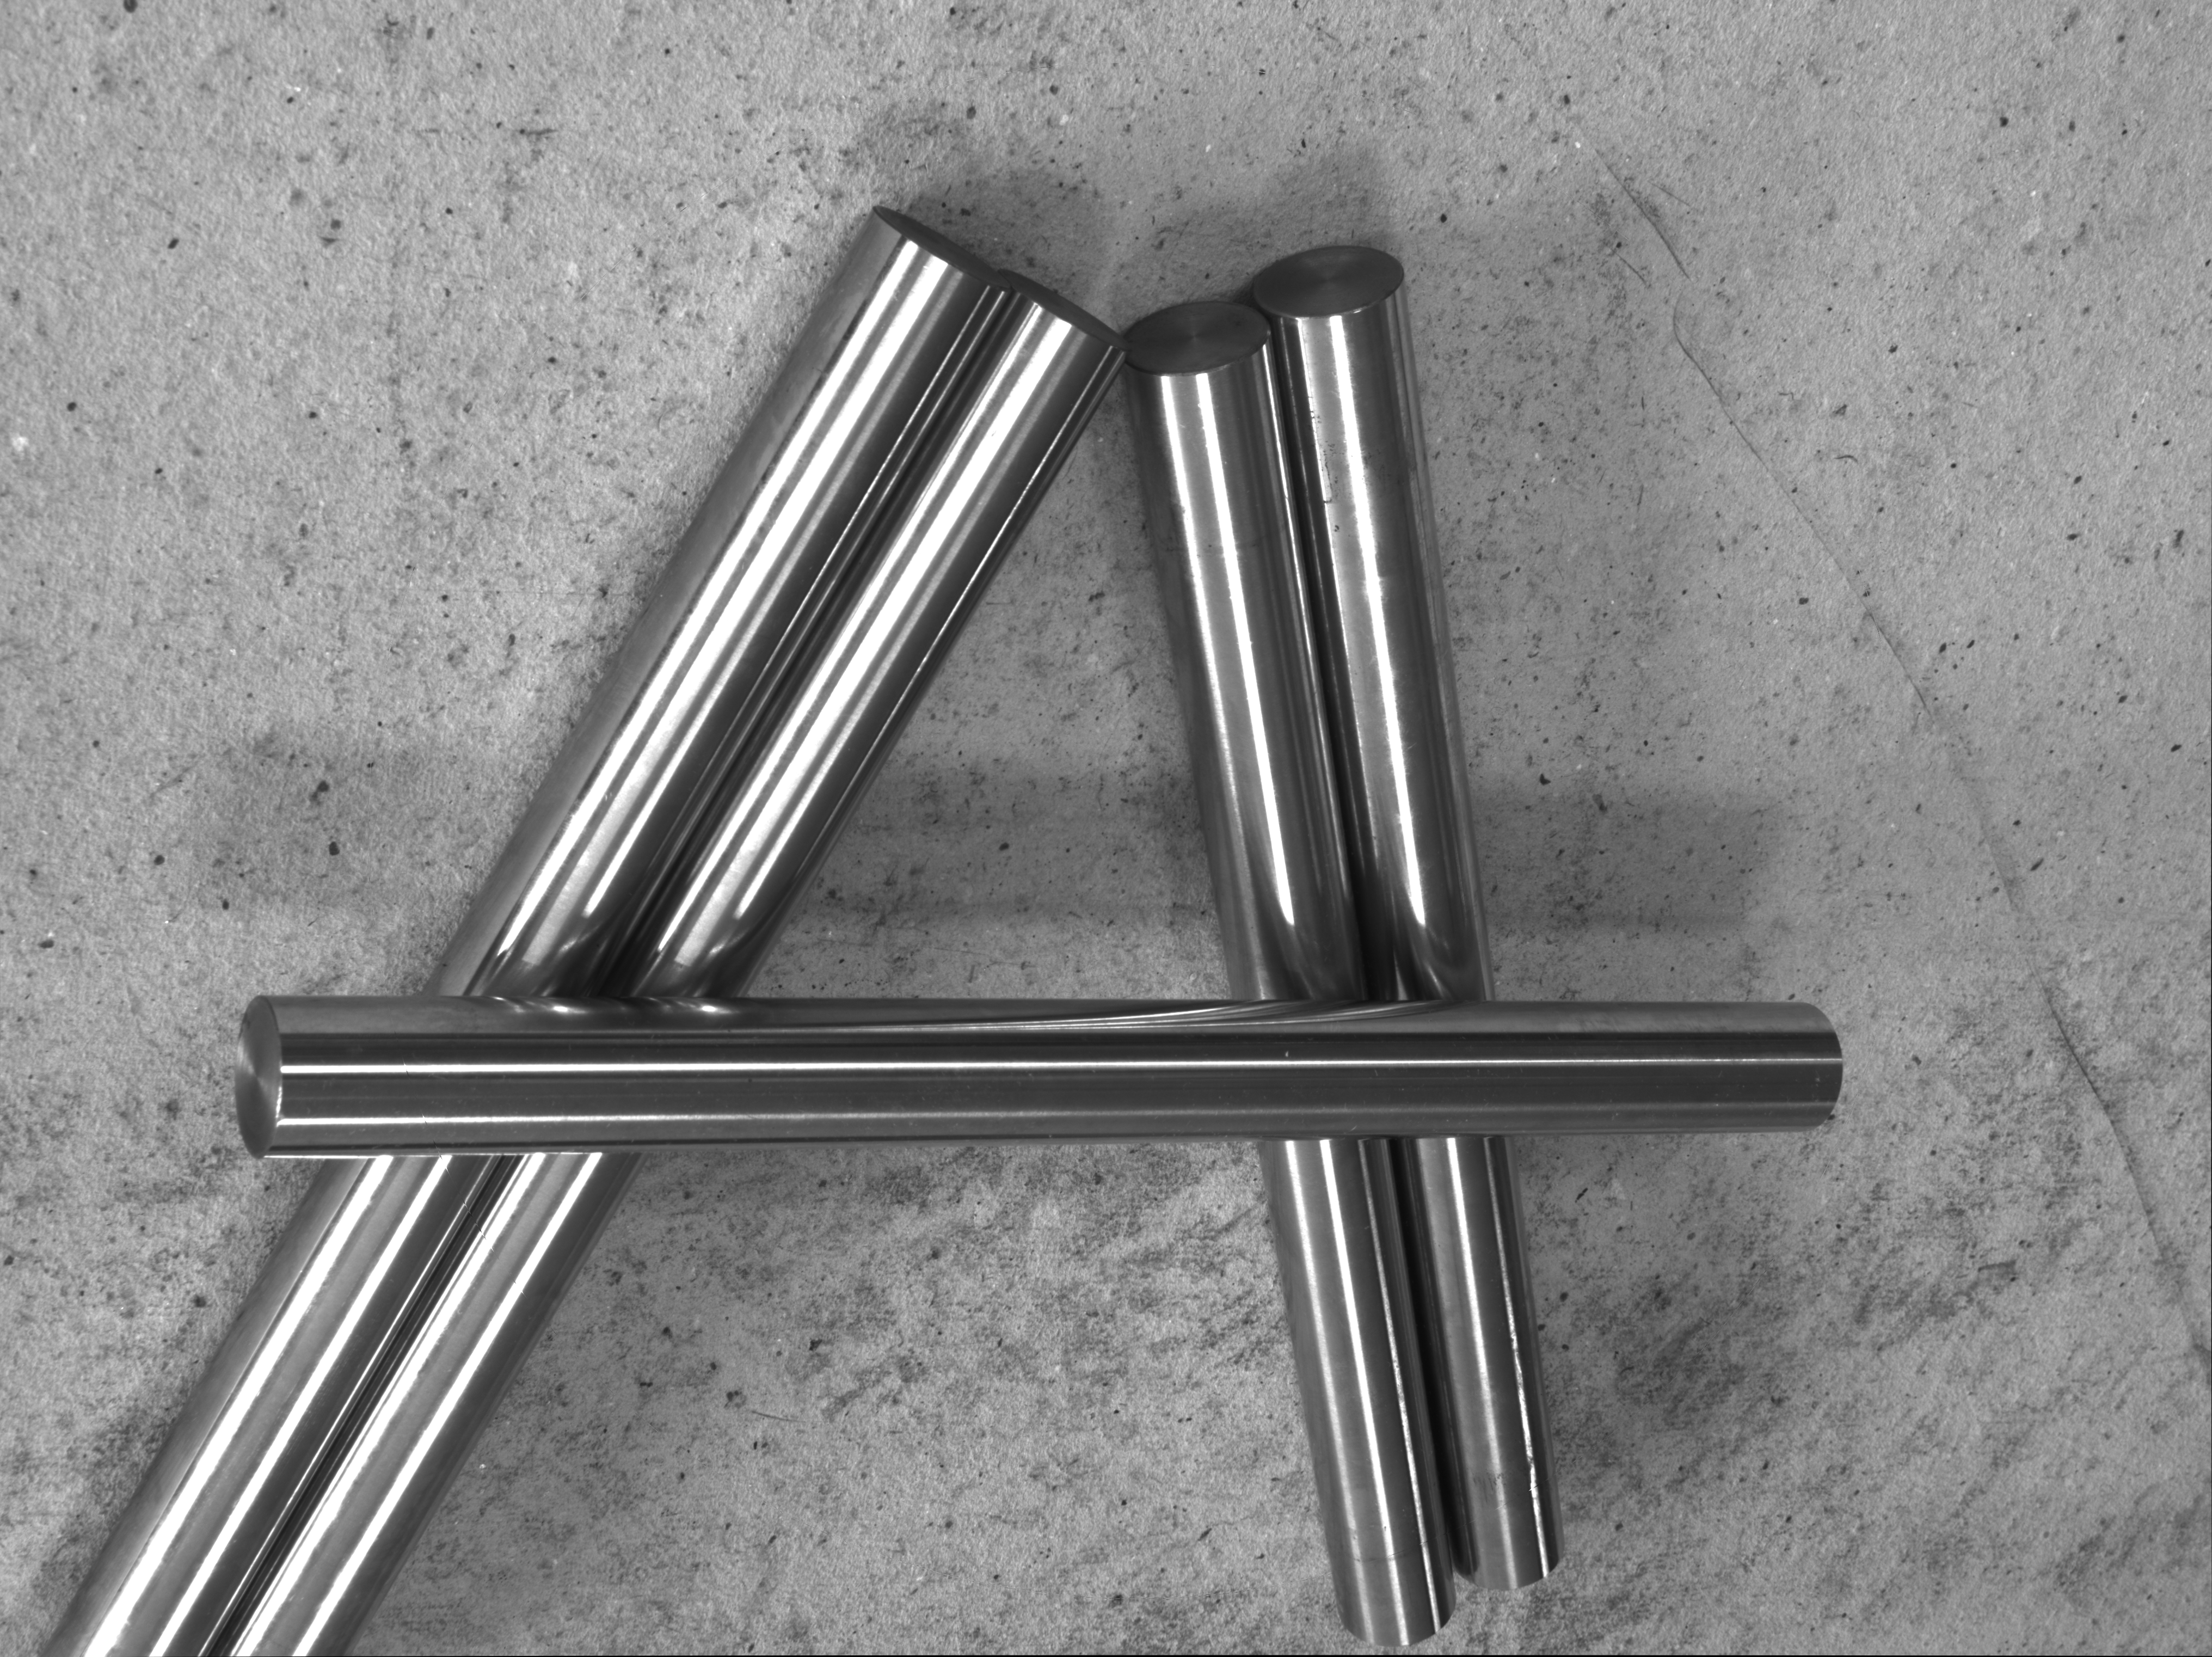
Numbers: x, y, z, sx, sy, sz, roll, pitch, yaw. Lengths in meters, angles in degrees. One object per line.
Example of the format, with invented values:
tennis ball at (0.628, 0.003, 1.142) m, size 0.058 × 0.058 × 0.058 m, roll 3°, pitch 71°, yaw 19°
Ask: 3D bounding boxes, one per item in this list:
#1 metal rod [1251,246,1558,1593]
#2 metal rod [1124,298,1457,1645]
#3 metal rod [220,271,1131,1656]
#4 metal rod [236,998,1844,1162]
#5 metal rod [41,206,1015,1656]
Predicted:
metal rod at (0.060, 0.031, 0.689) m, size 0.025 × 0.025 × 0.300 m, roll -22°, pitch 126°, yaw -15°
metal rod at (0.038, 0.041, 0.683) m, size 0.025 × 0.025 × 0.300 m, roll -22°, pitch 126°, yaw -15°
metal rod at (-0.083, 0.042, 0.617) m, size 0.025 × 0.025 × 0.300 m, roll 22°, pitch 106°, yaw -36°
metal rod at (0.002, 0.042, 0.632) m, size 0.301 × 0.025 × 0.025 m, roll 2°, pitch 117°, yaw -29°
metal rod at (-0.102, 0.034, 0.603) m, size 0.025 × 0.025 × 0.300 m, roll 22°, pitch 106°, yaw -36°
